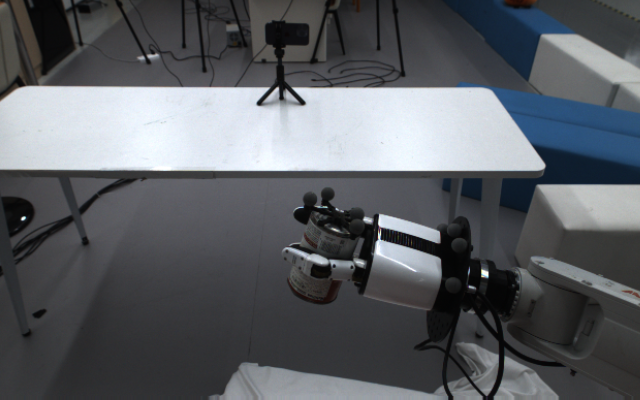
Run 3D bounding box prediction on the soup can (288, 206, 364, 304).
[{"bbox_3d":[0.007,0.070,0.604,0.067,0.101,0.067,17,21,-7],"label":"soup can"}]
